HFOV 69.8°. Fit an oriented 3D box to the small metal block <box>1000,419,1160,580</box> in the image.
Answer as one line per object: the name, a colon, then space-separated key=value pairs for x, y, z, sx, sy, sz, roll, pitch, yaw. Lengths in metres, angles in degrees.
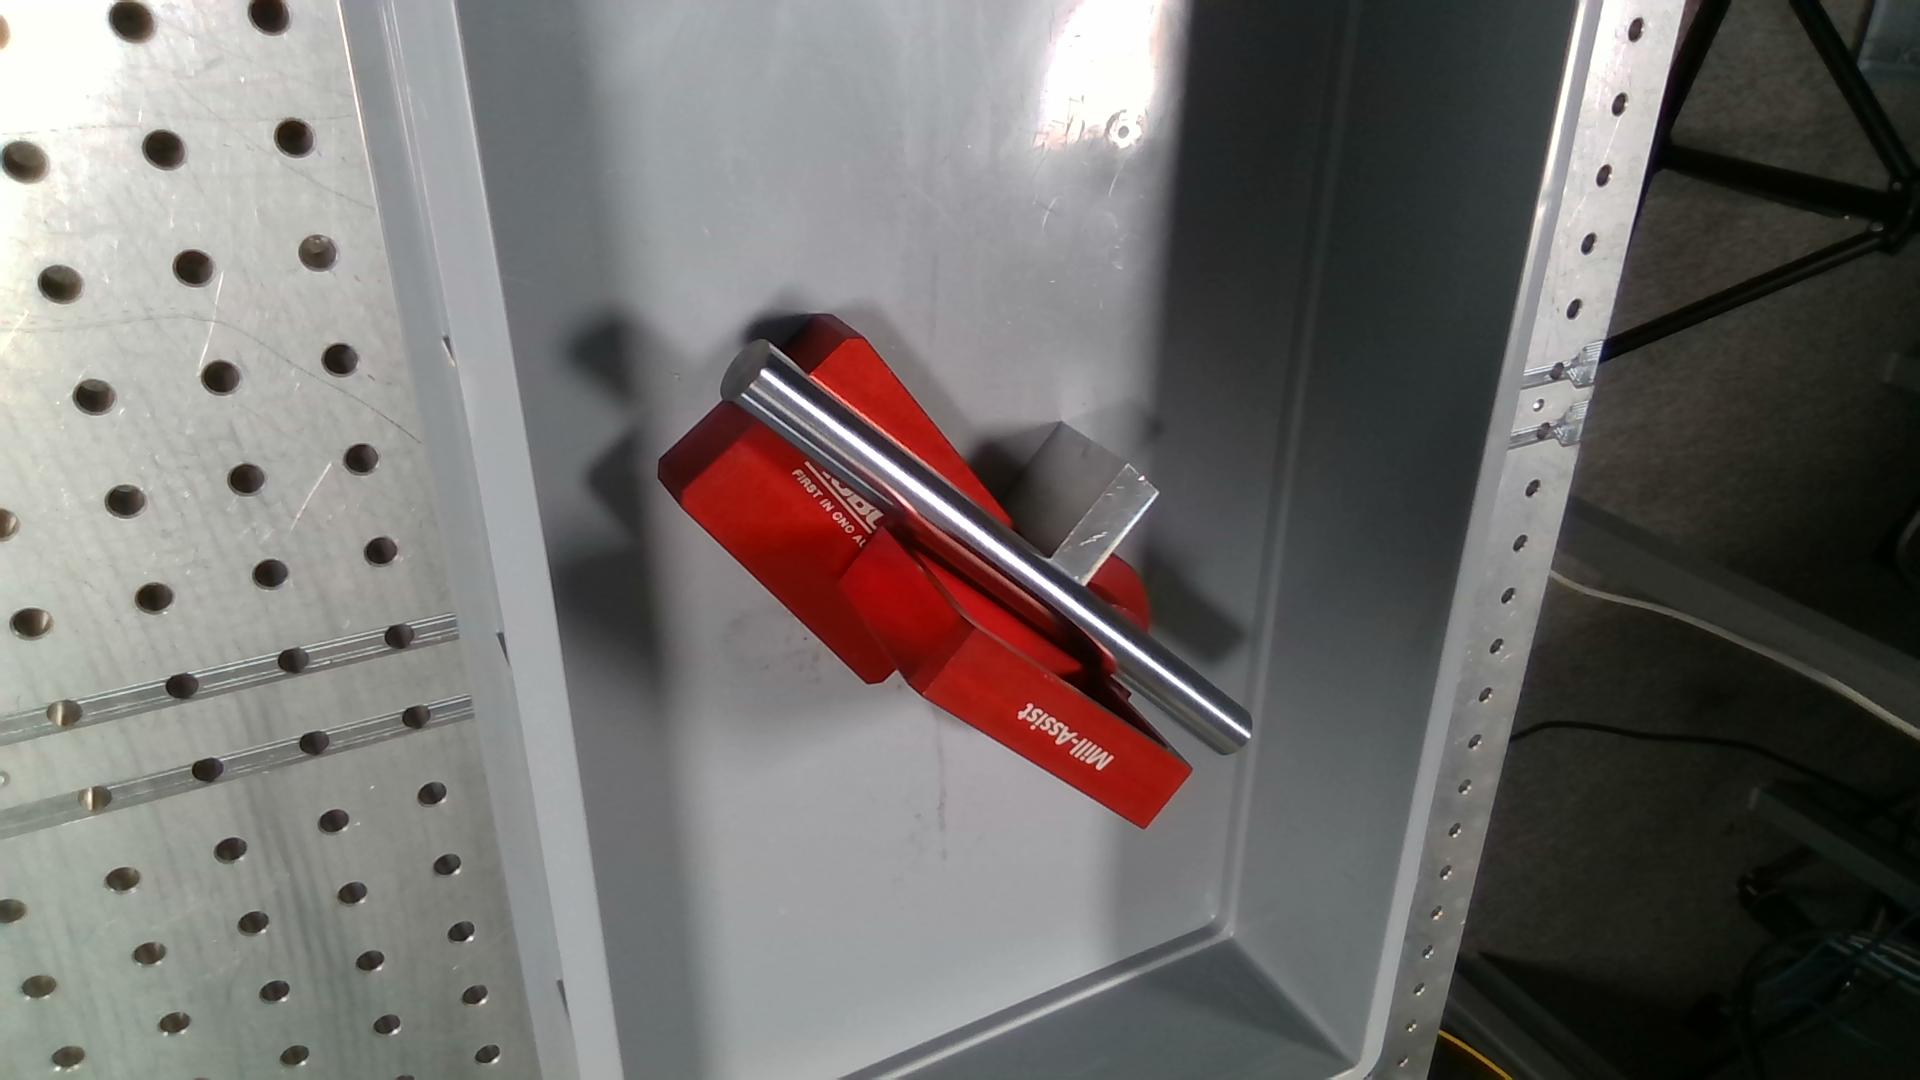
small metal block: x=0.048 y=-0.017 z=0.584 sx=0.050 sy=0.050 sz=0.025 roll=-51 pitch=129 yaw=2

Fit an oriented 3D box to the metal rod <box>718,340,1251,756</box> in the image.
metal rod: x=0.025 y=0.016 z=0.553 sx=0.301 sy=0.025 sz=0.025 roll=36 pitch=93 yaw=-35

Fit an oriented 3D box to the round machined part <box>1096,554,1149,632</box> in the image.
round machined part: x=0.046 y=0.049 z=0.622 sx=0.098 sy=0.042 sz=0.098 roll=-14 pitch=122 yaw=-25

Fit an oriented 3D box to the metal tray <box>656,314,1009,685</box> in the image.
metal tray: x=-0.044 y=-0.013 z=0.542 sx=0.090 sy=0.030 sz=0.130 roll=-44 pitch=129 yaw=-4

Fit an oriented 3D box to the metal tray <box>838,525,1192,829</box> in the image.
metal tray: x=0.021 y=0.053 z=0.530 sx=0.130 sy=0.090 sz=0.030 roll=35 pitch=96 yaw=-33
